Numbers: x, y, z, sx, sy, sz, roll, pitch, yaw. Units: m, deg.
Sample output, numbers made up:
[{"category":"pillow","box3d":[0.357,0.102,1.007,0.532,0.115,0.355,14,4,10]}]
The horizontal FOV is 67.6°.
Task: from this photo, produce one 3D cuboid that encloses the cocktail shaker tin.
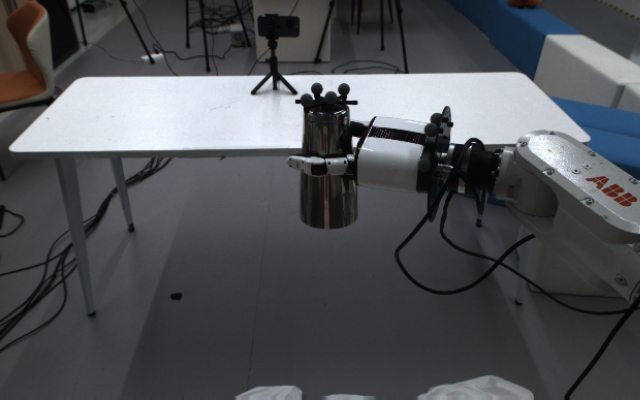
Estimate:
[{"category":"cocktail shaker tin","box3d":[0.013,-0.055,0.718,0.093,0.170,0.093,-2,26,1]}]
